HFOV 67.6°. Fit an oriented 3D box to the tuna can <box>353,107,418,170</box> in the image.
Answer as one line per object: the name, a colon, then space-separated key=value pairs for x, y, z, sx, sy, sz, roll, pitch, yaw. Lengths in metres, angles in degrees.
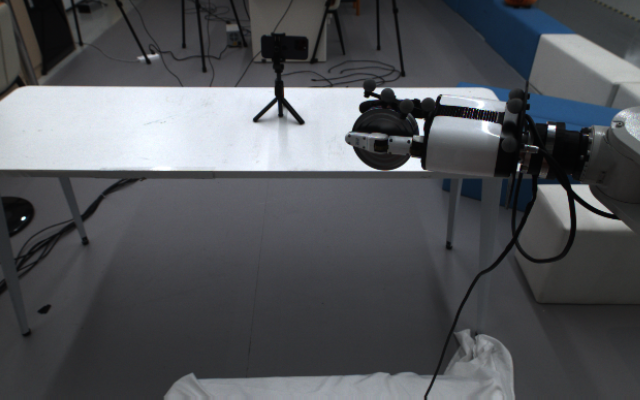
tuna can: x=0.089 y=-0.087 z=0.647 sx=0.085 sy=0.085 sz=0.034 roll=15 pitch=28 yaw=18
